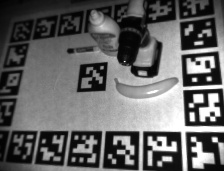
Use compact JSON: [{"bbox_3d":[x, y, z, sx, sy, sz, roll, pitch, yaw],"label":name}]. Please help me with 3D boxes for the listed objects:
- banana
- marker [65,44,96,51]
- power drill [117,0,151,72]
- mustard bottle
[{"bbox_3d":[0.082,0.004,0.668,0.195,0.039,0.074,5,76,21],"label":"banana"},{"bbox_3d":[-0.117,-0.137,0.785,0.120,0.020,0.019,-1,74,18],"label":"marker"},{"bbox_3d":[0.066,-0.108,0.603,0.057,0.189,0.184,11,74,20],"label":"power drill"},{"bbox_3d":[-0.026,-0.160,0.667,0.095,0.193,0.058,8,76,20],"label":"mustard bottle"}]
